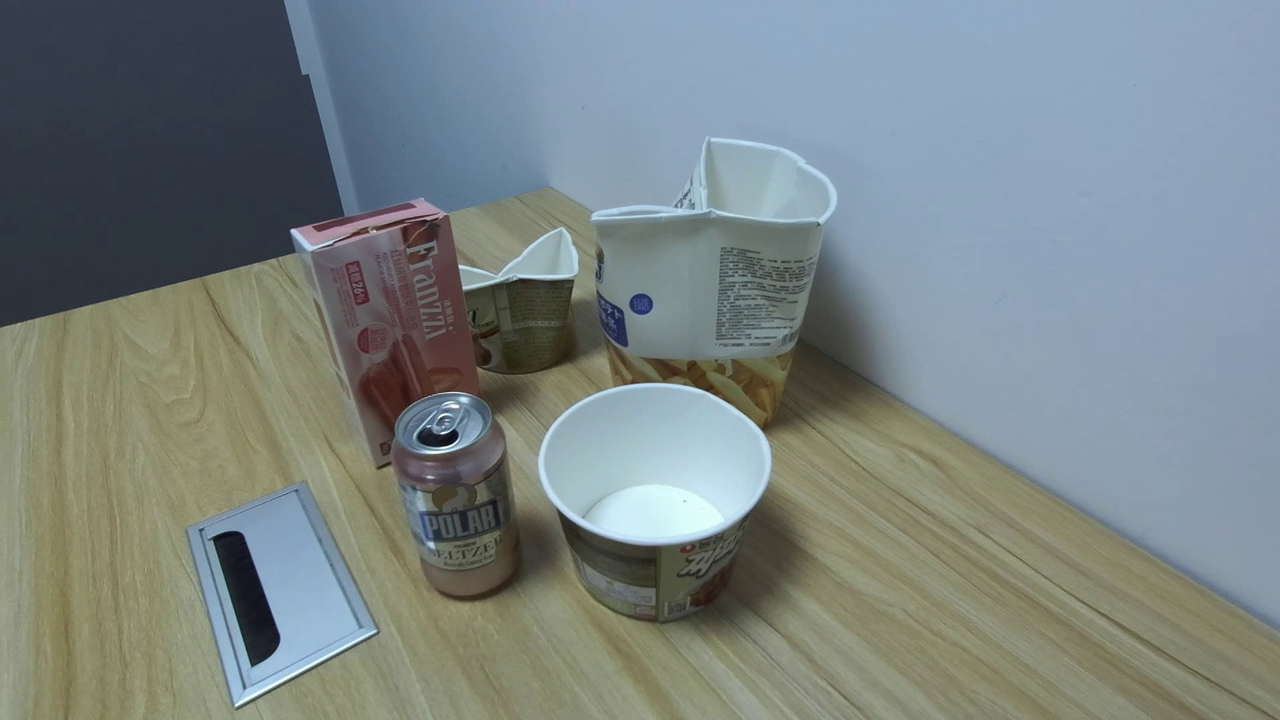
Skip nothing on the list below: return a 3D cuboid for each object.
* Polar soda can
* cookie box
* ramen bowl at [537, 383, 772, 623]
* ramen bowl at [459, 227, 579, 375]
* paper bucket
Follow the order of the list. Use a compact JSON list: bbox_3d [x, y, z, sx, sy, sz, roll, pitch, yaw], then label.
[{"bbox_3d":[-0.112,0.085,0.442,0.067,0.126,0.067,0,35,0],"label":"Polar soda can"},{"bbox_3d":[-0.177,-0.021,0.532,0.105,0.188,0.048,-25,40,-30],"label":"cookie box"},{"bbox_3d":[0.009,0.094,0.454,0.140,0.095,0.140,0,35,1],"label":"ramen bowl"},{"bbox_3d":[-0.121,-0.055,0.663,0.128,0.093,0.111,-8,35,-11],"label":"ramen bowl"},{"bbox_3d":[0.053,-0.057,0.574,0.169,0.202,0.162,4,35,1],"label":"paper bucket"}]
